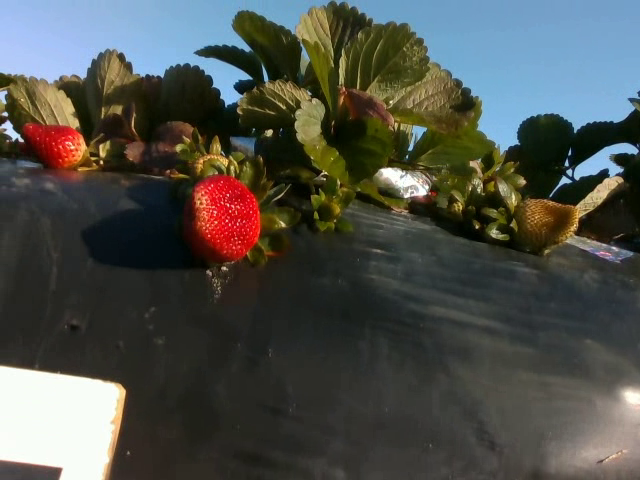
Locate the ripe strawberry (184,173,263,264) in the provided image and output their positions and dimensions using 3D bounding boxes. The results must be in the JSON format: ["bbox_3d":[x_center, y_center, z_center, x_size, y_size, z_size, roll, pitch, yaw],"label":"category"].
[{"bbox_3d":[-0.048,-0.008,0.268,0.042,0.042,0.059,24,12,5],"label":"ripe strawberry"}]

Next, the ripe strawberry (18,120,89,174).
[{"bbox_3d":[-0.165,-0.060,0.372,0.046,0.036,0.035,20,20,-18],"label":"ripe strawberry"}]
